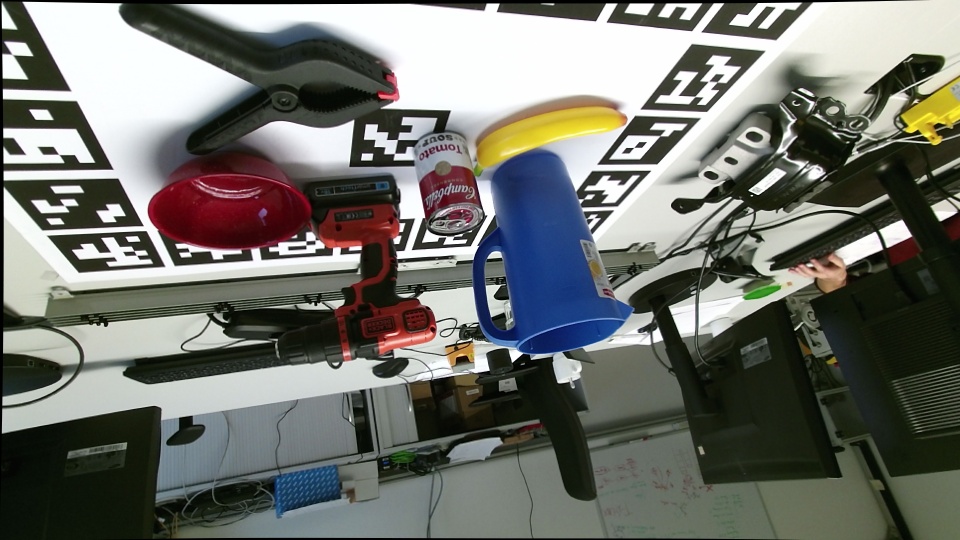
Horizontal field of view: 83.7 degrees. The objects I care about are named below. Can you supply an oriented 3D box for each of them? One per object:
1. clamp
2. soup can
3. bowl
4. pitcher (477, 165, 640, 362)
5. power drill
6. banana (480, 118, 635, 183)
[{"bbox_3d":[-0.163,-0.149,0.483,0.203,0.036,0.165,-6,150,-18],"label":"clamp"},{"bbox_3d":[-0.031,-0.087,0.631,0.068,0.101,0.068,-11,164,-3],"label":"soup can"},{"bbox_3d":[-0.260,-0.067,0.595,0.162,0.055,0.162,-13,154,-6],"label":"bowl"},{"bbox_3d":[0.082,-0.007,0.696,0.189,0.241,0.133,-16,159,2],"label":"pitcher"},{"bbox_3d":[-0.153,0.023,0.648,0.185,0.186,0.057,-7,155,-15],"label":"power drill"},{"bbox_3d":[0.090,-0.150,0.645,0.198,0.038,0.074,-15,164,4],"label":"banana"}]
